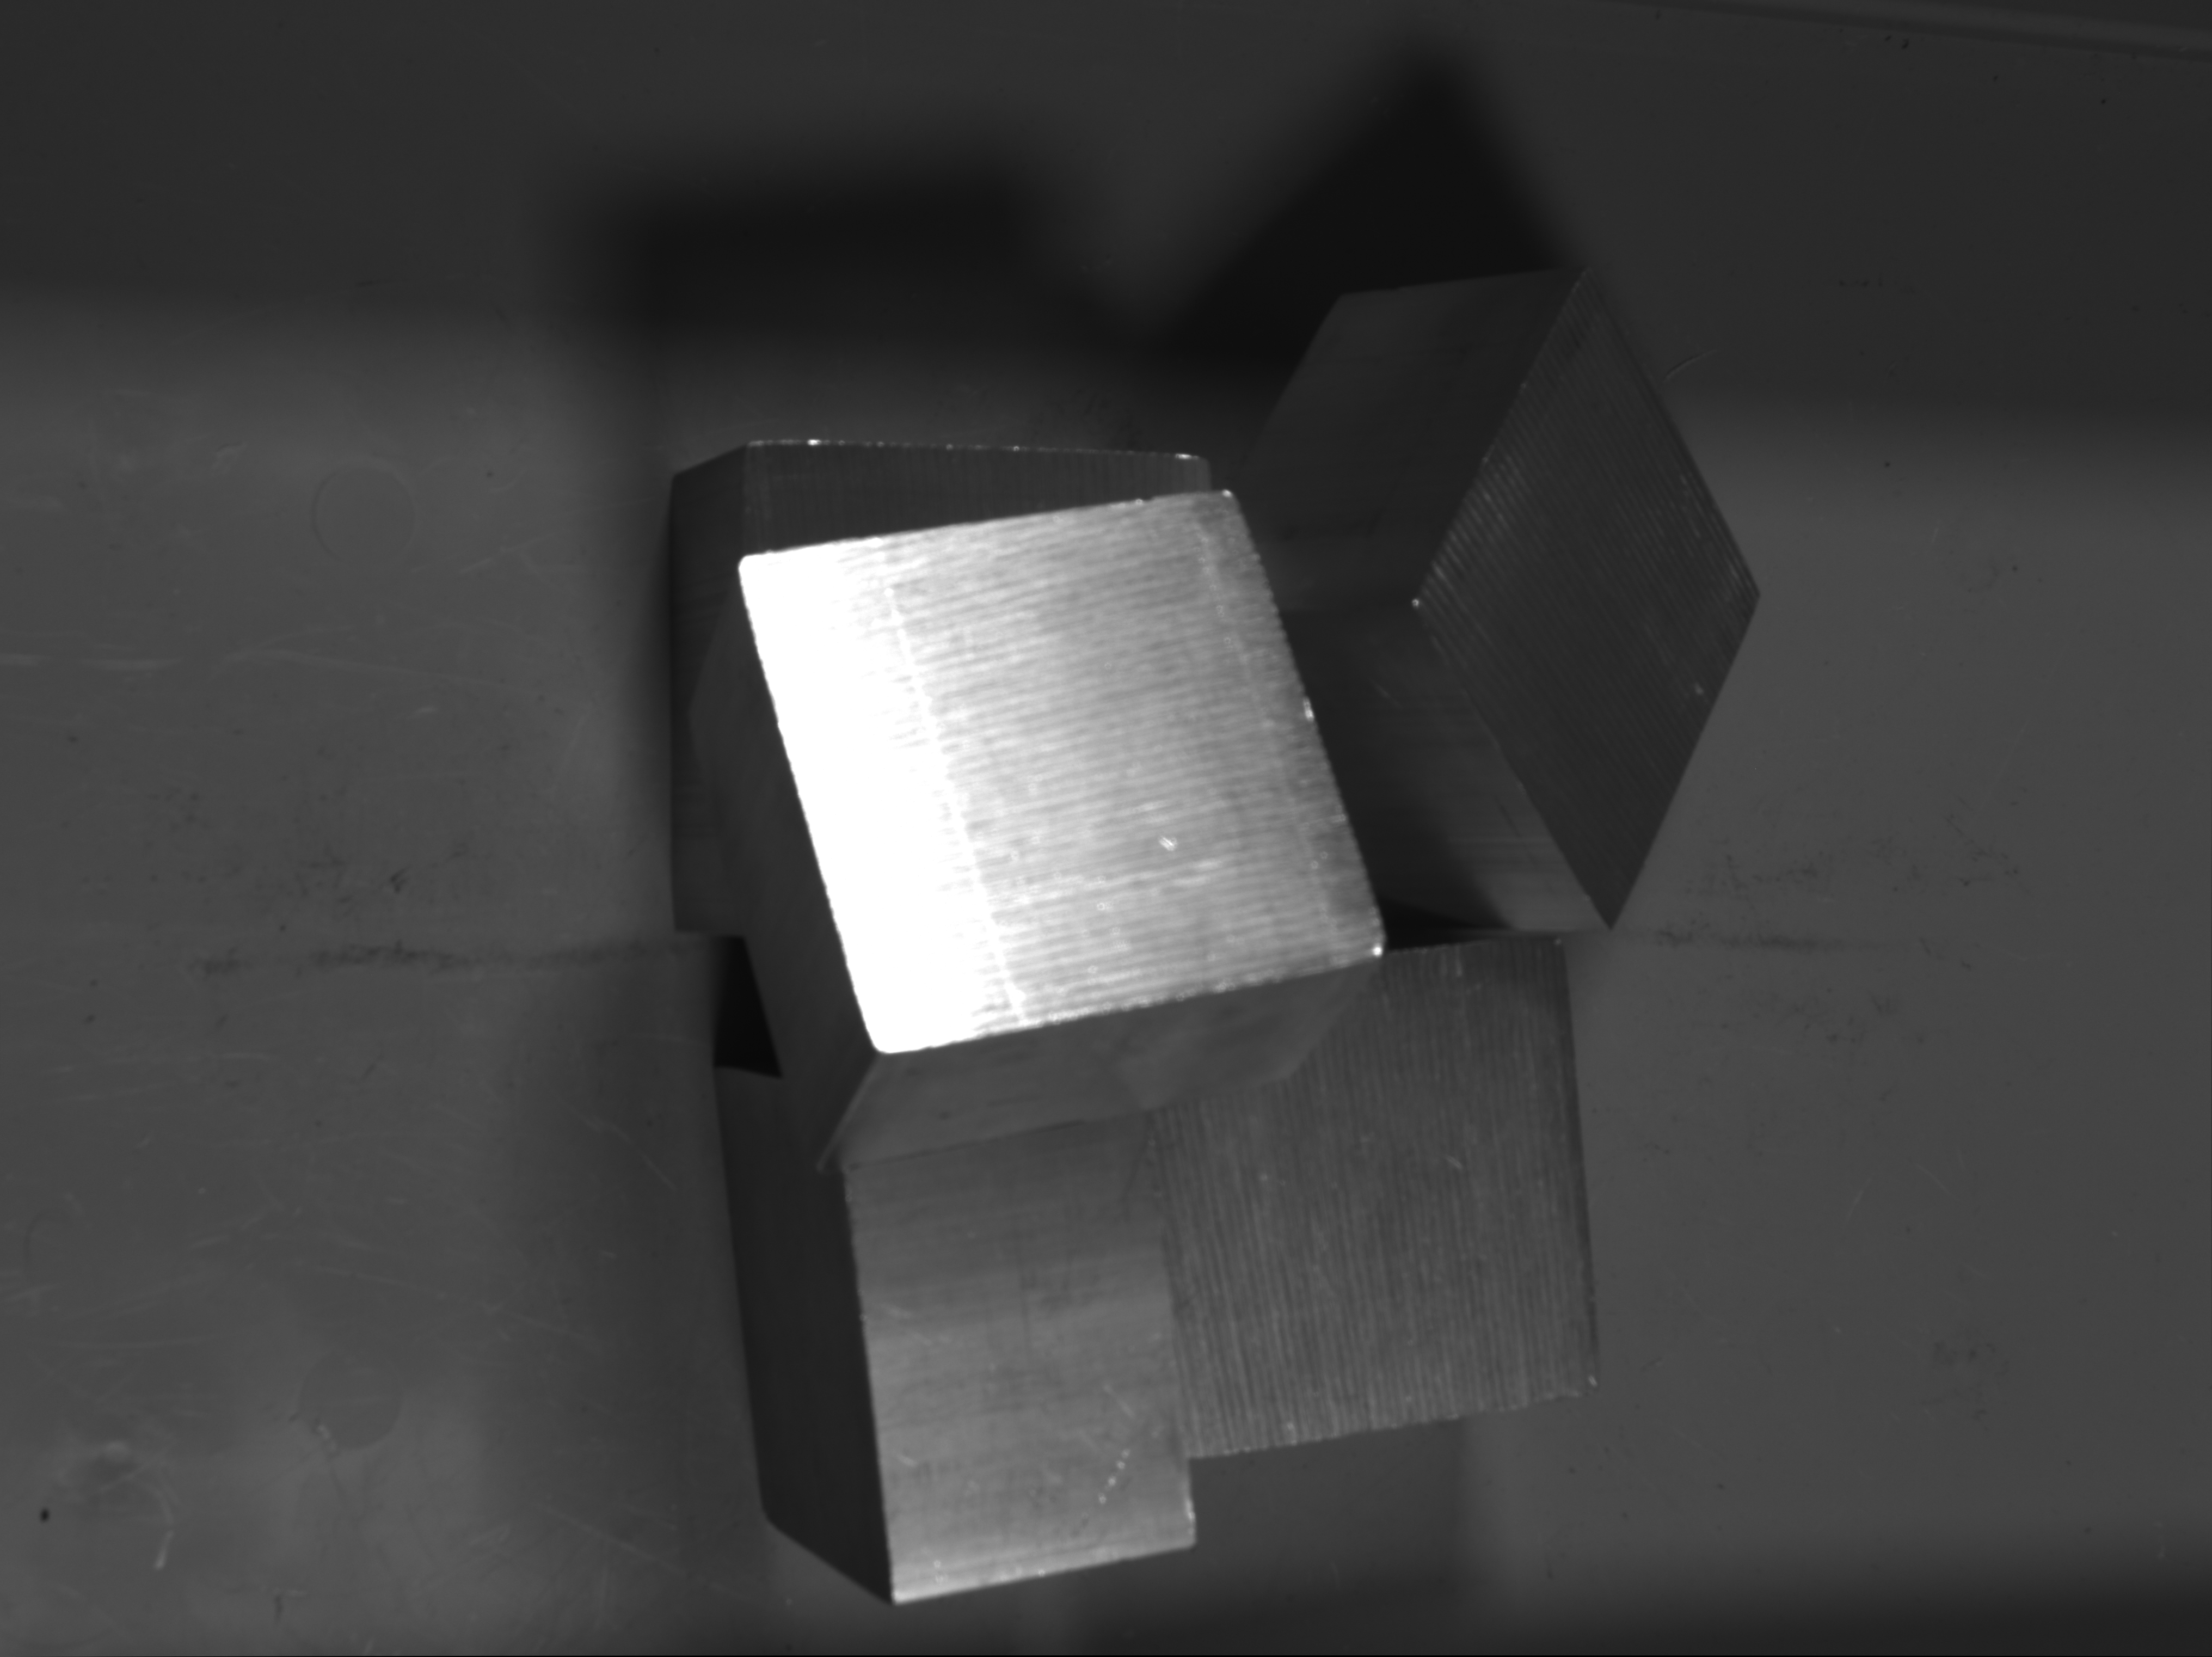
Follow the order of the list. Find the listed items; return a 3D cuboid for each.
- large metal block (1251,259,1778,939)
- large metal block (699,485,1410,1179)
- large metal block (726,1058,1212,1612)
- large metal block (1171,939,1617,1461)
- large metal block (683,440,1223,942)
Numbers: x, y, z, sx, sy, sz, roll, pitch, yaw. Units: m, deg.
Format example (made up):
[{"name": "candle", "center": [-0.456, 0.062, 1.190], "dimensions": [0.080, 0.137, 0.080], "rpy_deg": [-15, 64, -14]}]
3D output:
[{"name": "large metal block", "center": [0.065, -0.038, 0.626], "dimensions": [0.080, 0.050, 0.080], "rpy_deg": [54, 50, -36]}, {"name": "large metal block", "center": [-0.010, 0.000, 0.556], "dimensions": [0.080, 0.050, 0.080], "rpy_deg": [-10, 68, -19]}, {"name": "large metal block", "center": [-0.024, 0.077, 0.604], "dimensions": [0.050, 0.080, 0.080], "rpy_deg": [-7, 92, -20]}, {"name": "large metal block", "center": [0.039, 0.062, 0.641], "dimensions": [0.080, 0.050, 0.080], "rpy_deg": [-6, 92, -20]}, {"name": "large metal block", "center": [-0.026, -0.022, 0.620], "dimensions": [0.080, 0.050, 0.080], "rpy_deg": [-1, 90, -20]}]
